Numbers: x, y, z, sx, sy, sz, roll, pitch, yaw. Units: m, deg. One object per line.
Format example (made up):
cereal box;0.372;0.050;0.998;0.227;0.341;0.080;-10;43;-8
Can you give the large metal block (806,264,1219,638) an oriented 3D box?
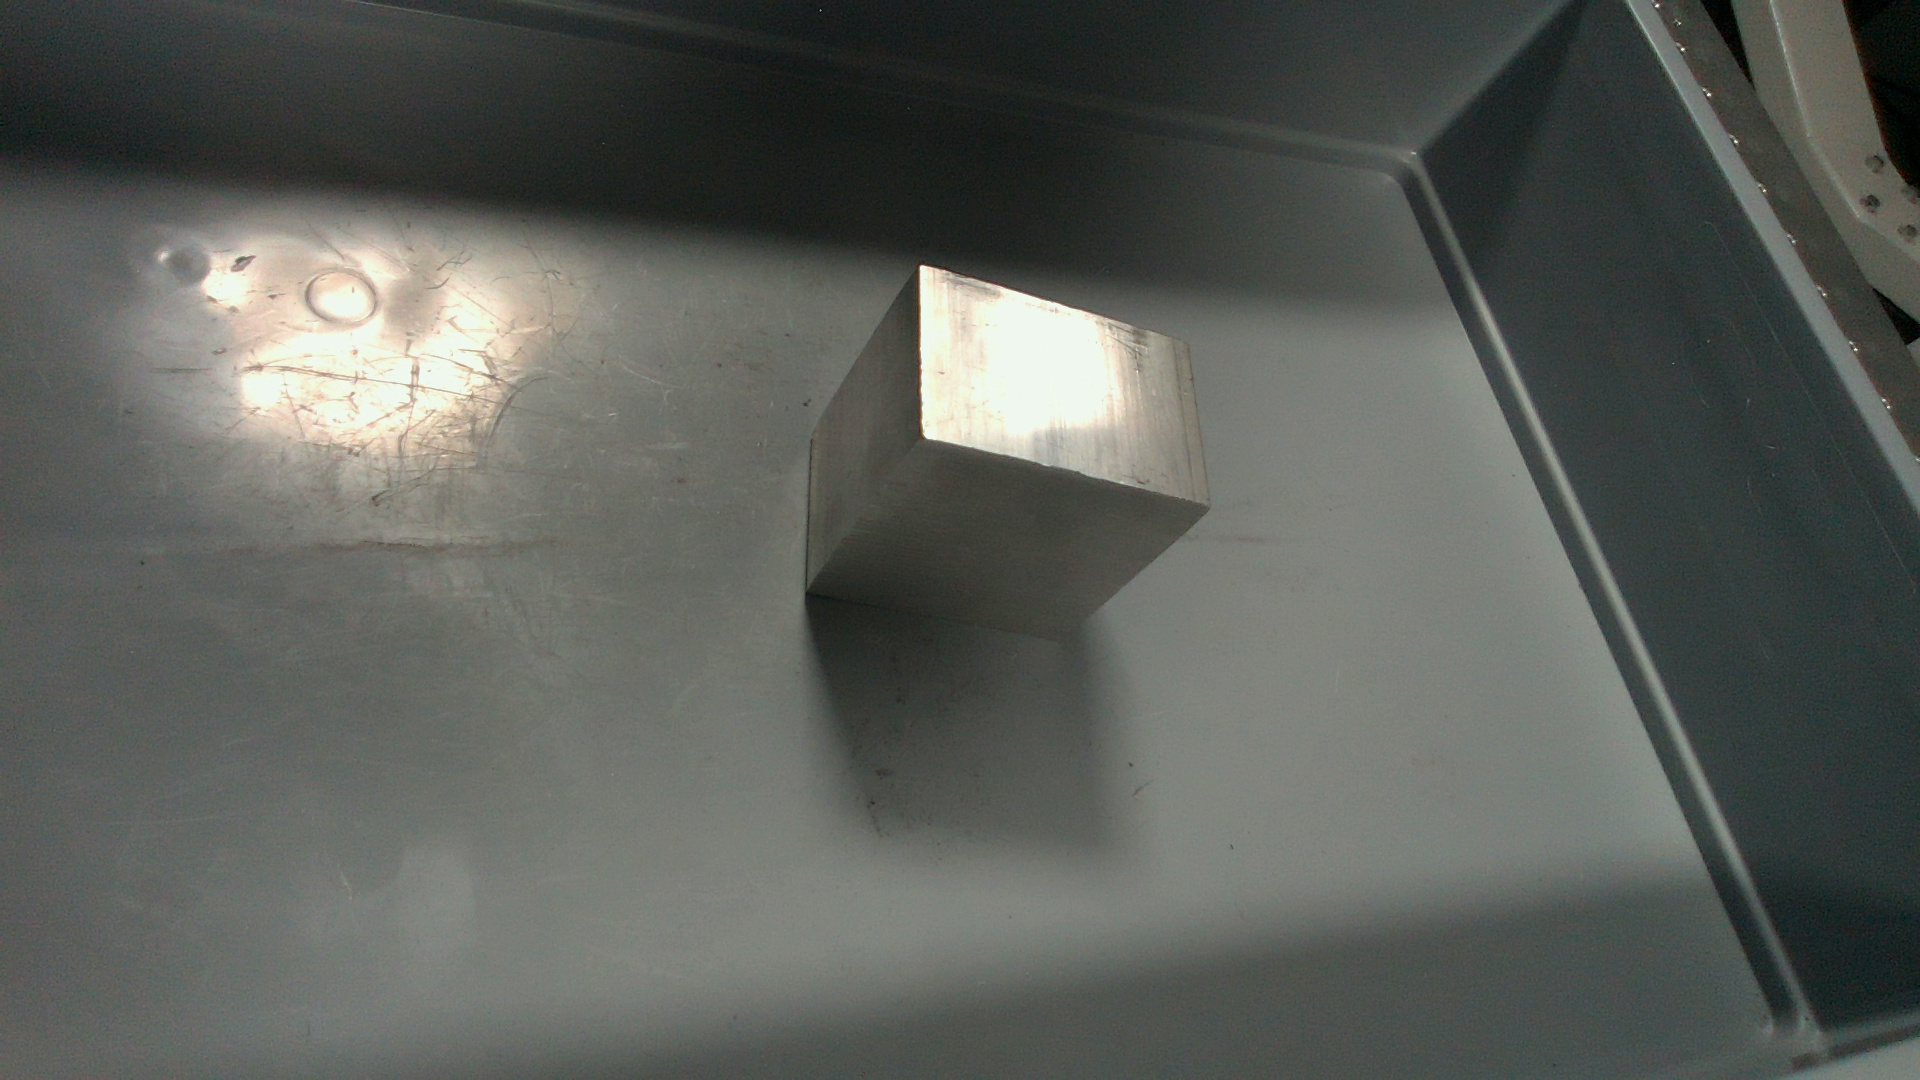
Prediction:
large metal block;0.010;-0.019;0.369;0.080;0.080;0.050;12;57;-22
